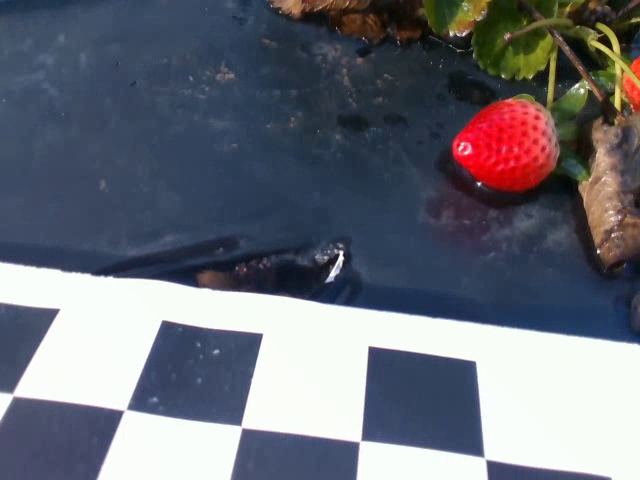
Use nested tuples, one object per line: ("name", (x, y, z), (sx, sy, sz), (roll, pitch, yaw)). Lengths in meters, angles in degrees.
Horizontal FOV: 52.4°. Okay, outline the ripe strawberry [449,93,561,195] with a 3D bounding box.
("ripe strawberry", (0.059, -0.032, 0.212), (0.043, 0.030, 0.035), (-18, 48, -25))
